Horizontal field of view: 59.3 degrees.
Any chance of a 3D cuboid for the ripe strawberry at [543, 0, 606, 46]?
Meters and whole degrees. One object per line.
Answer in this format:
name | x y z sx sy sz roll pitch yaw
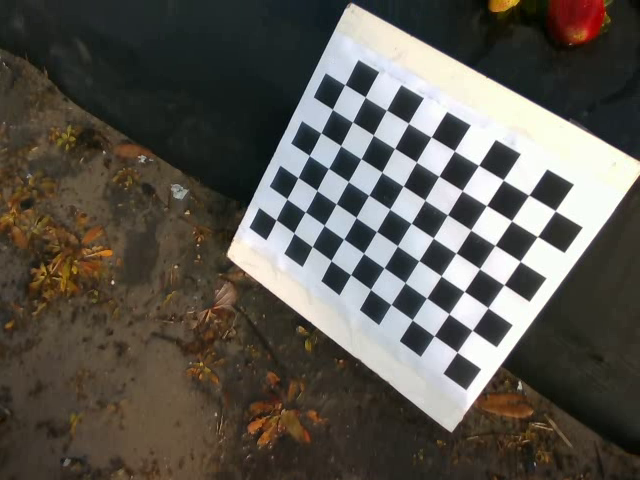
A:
ripe strawberry | 0.206 -0.174 0.452 0.050 0.050 0.065 -7 38 28
